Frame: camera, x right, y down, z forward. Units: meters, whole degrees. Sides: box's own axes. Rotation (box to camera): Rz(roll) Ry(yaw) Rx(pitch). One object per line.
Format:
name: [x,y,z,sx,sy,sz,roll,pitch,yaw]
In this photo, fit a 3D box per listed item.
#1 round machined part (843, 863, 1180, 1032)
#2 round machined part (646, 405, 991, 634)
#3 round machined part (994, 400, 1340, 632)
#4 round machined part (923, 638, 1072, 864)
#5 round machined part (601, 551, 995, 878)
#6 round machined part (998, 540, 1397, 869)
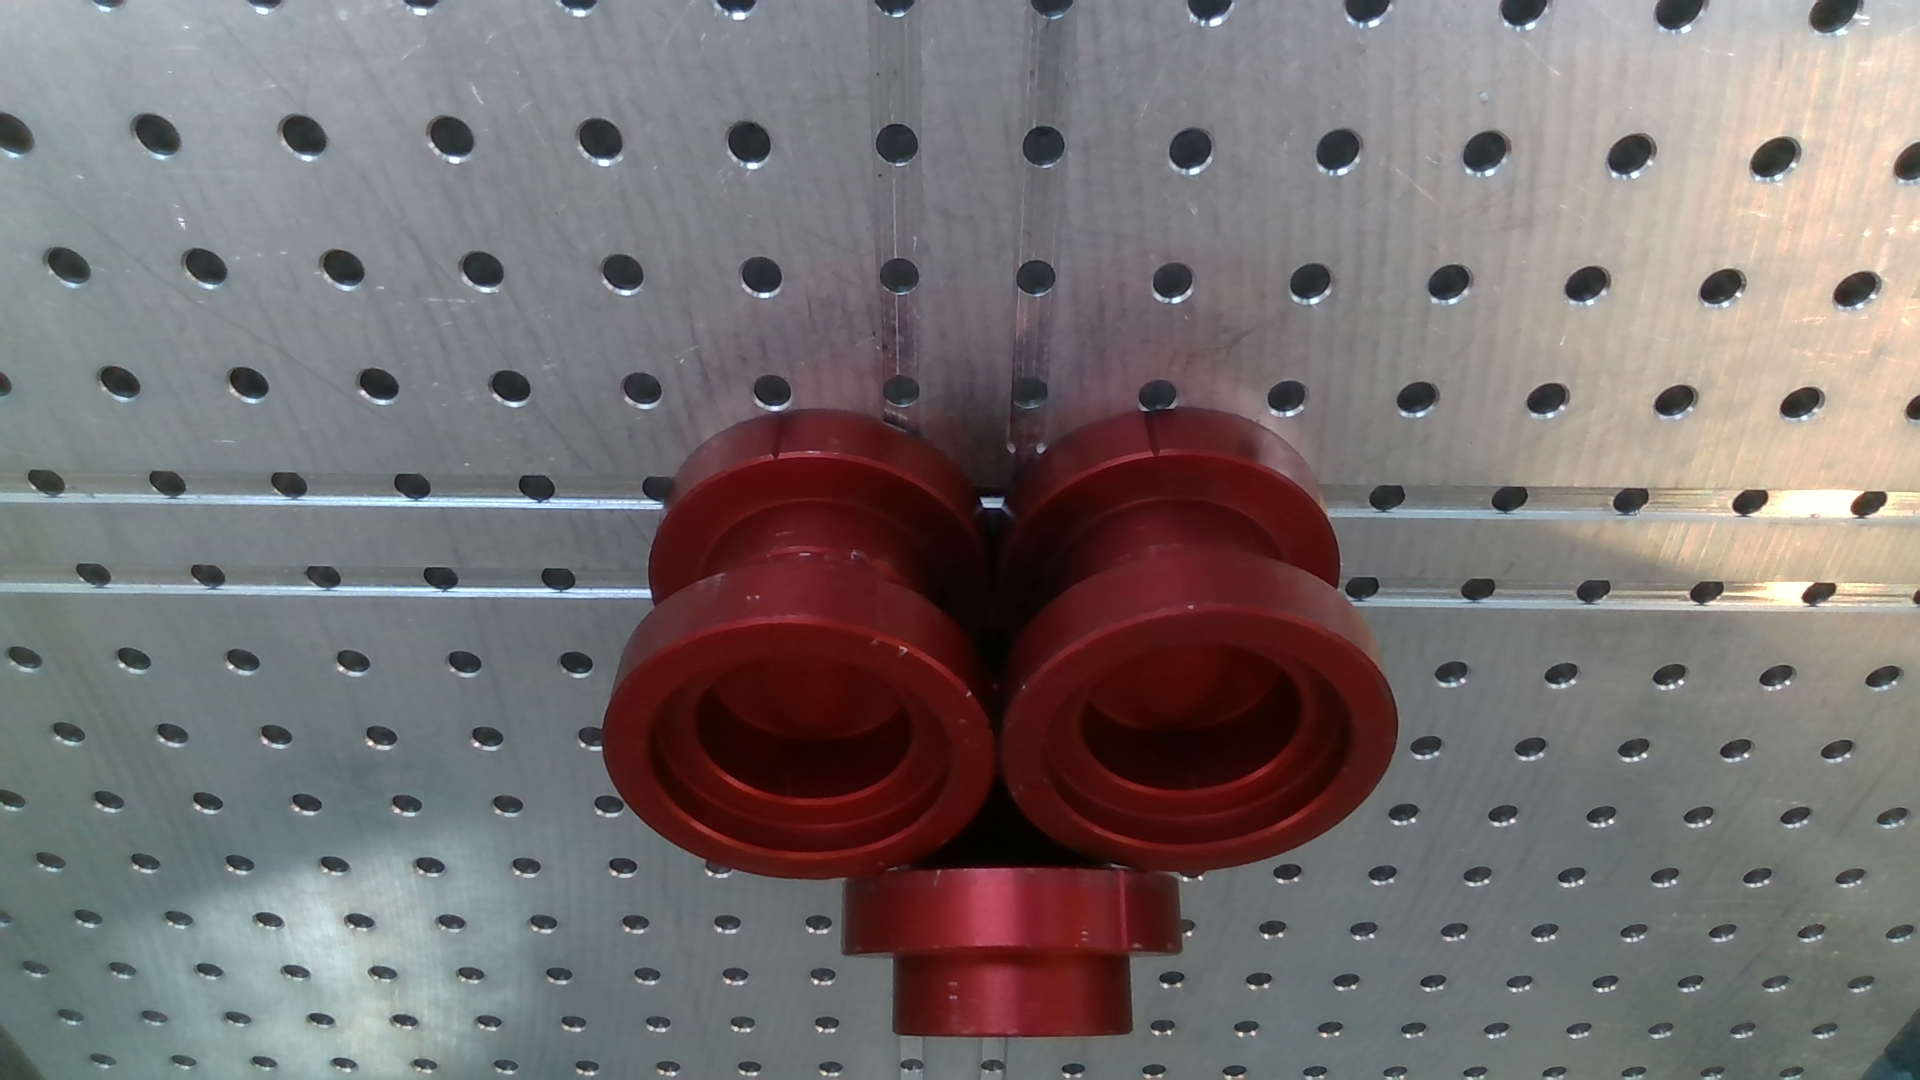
round machined part: [0.015,0.119,0.398,0.098,0.042,0.098,-1,162,0]
round machined part: [-0.040,0.013,0.392,0.098,0.042,0.098,0,130,0]
round machined part: [0.059,0.012,0.391,0.098,0.042,0.098,0,130,0]
round machined part: [0.015,0.081,0.449,0.098,0.042,0.098,0,130,0]
round machined part: [-0.040,0.042,0.359,0.098,0.042,0.098,0,130,0]
round machined part: [0.059,0.039,0.357,0.098,0.042,0.098,0,130,0]
